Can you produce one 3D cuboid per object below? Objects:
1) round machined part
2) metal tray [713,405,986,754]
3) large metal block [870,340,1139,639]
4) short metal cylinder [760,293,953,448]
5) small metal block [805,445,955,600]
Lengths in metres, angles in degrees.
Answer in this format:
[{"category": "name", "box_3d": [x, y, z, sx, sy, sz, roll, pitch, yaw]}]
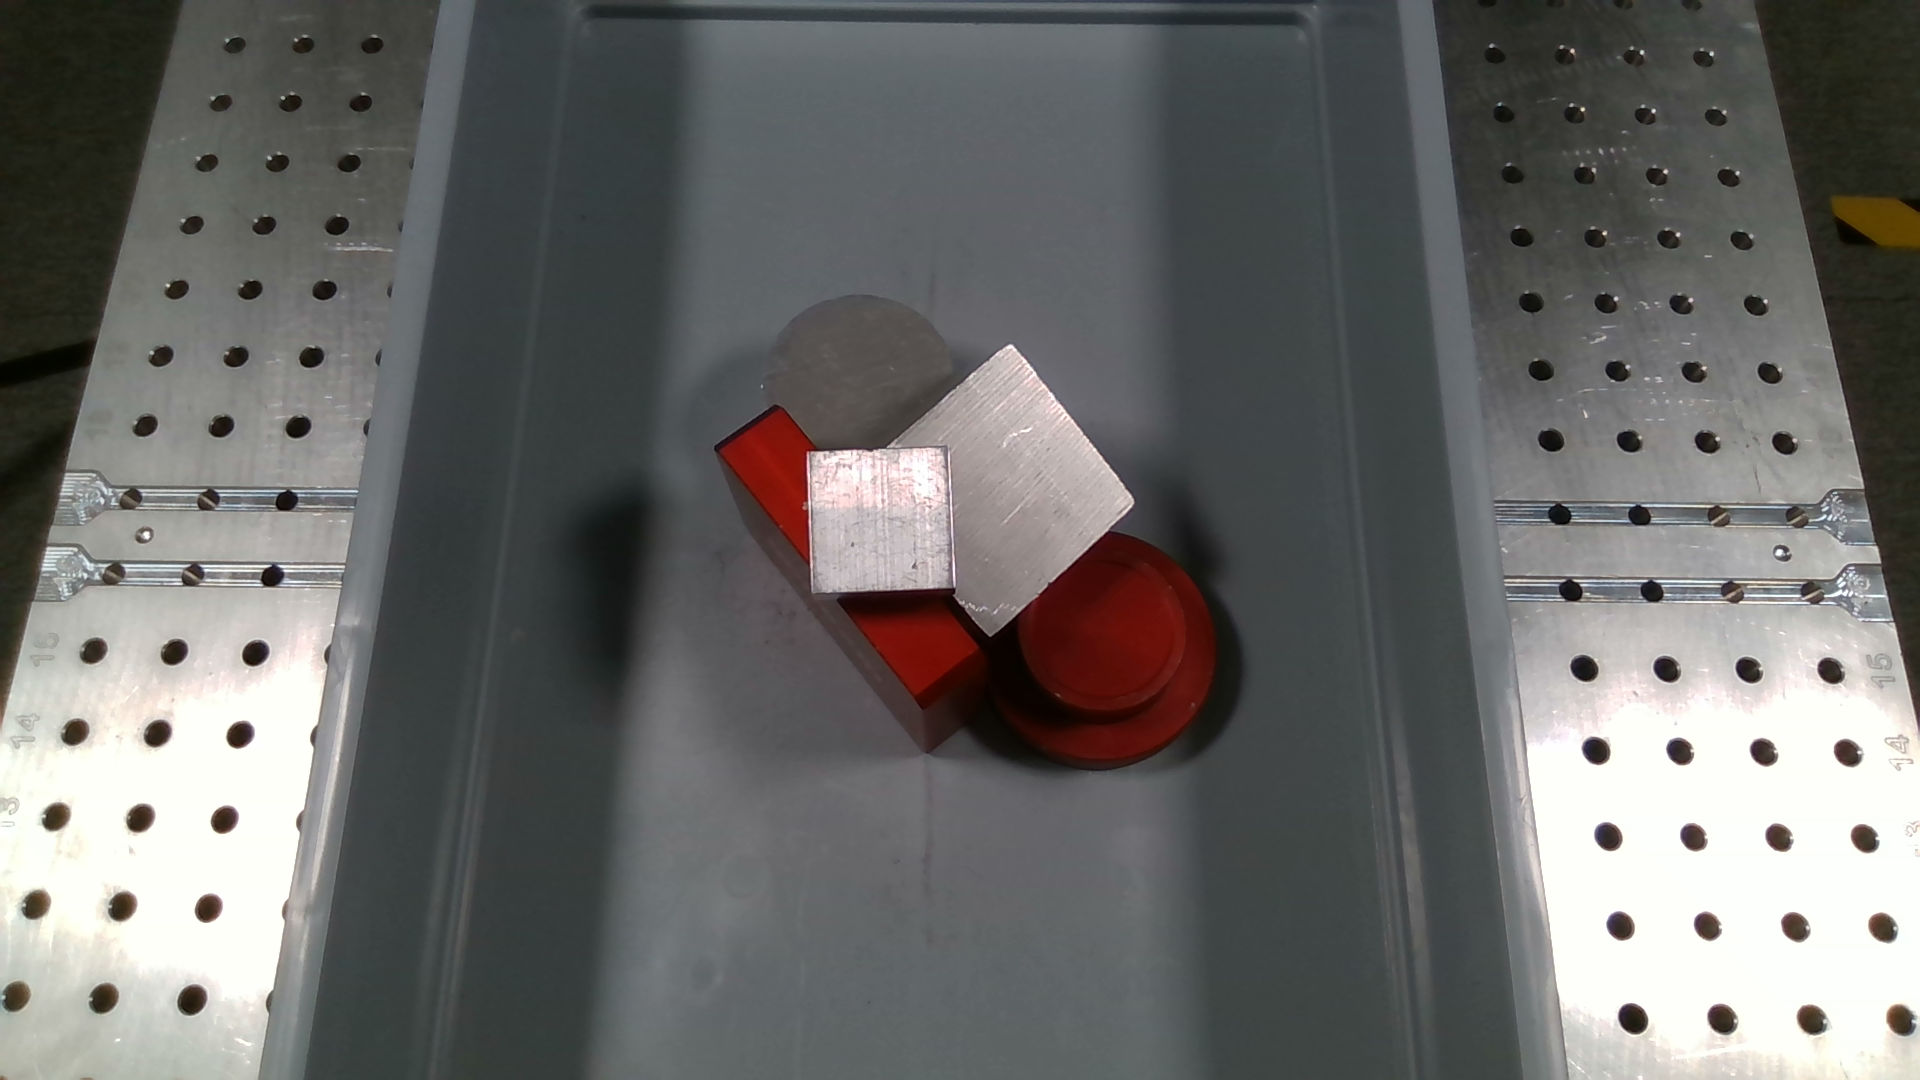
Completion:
[{"category": "round machined part", "box_3d": [0.056, 0.041, 0.563, 0.098, 0.042, 0.098, 0, 70, 0]}, {"category": "metal tray", "box_3d": [-0.043, 0.018, 0.545, 0.030, 0.090, 0.130, -37, 75, -13]}, {"category": "large metal block", "box_3d": [0.008, -0.019, 0.542, 0.080, 0.050, 0.080, -42, 100, -14]}, {"category": "short metal cylinder", "box_3d": [-0.043, -0.059, 0.594, 0.080, 0.050, 0.080, 0, 70, 0]}, {"category": "small metal block", "box_3d": [-0.028, -0.006, 0.487, 0.050, 0.025, 0.050, -2, 83, -2]}]
